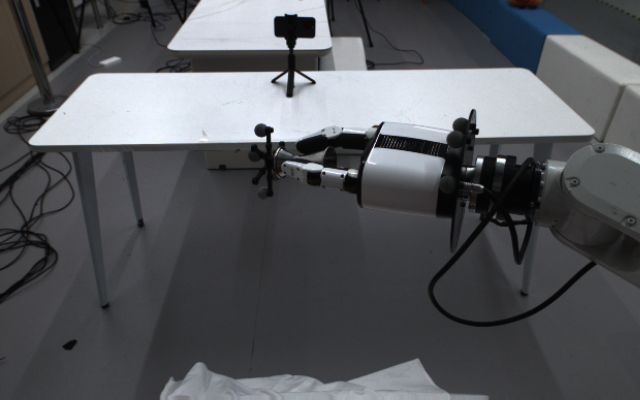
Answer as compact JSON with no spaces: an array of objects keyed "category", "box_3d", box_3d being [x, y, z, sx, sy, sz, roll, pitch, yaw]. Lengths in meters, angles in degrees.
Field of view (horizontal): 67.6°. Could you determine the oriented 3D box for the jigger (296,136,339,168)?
[{"category":"jigger","box_3d":[-0.012,-0.048,0.600,0.071,0.043,0.043,4,33,23]}]
